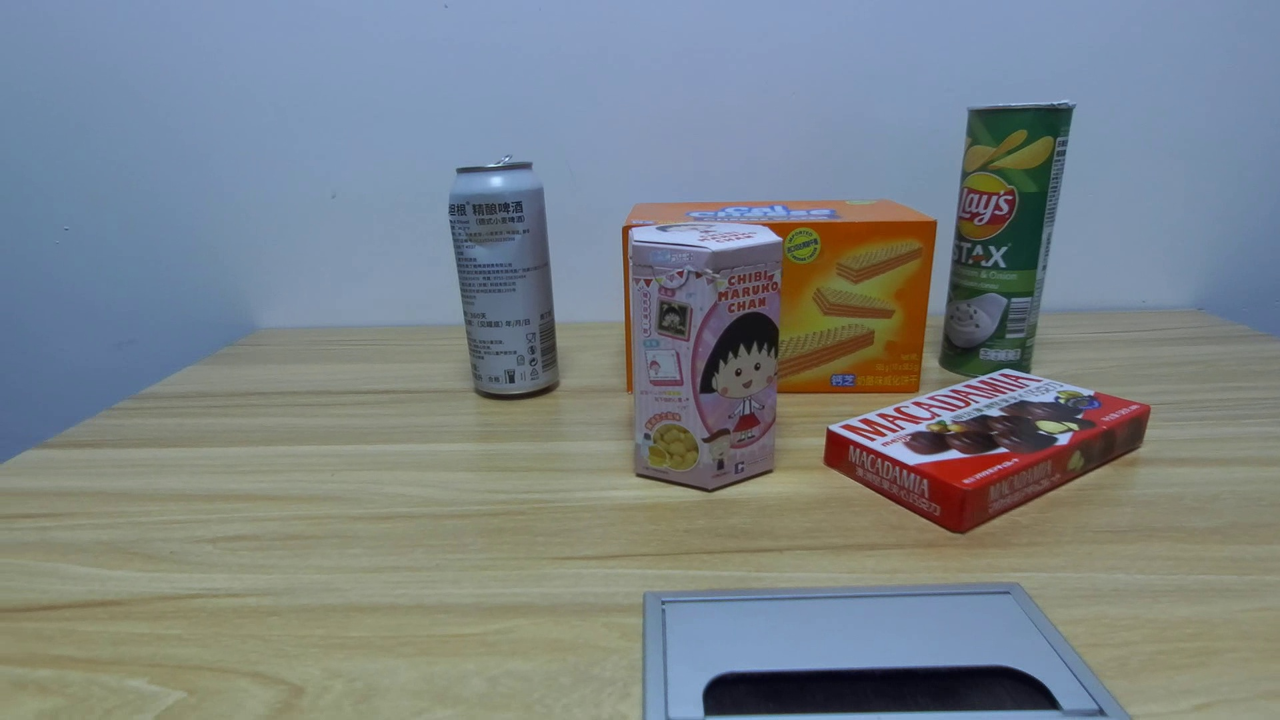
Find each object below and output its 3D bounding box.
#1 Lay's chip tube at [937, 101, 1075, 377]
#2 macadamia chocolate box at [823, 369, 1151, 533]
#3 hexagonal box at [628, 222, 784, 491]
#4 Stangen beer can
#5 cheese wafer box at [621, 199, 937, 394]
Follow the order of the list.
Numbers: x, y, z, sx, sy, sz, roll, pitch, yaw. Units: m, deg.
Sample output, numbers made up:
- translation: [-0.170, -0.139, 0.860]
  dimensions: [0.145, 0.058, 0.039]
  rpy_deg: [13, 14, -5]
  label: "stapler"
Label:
- translation: [0.278, -0.090, 0.541]
  dimensions: [0.071, 0.202, 0.071]
  rpy_deg: [-1, 17, 1]
  label: "Lay's chip tube"
- translation: [0.206, 0.045, 0.418]
  dimensions: [0.178, 0.027, 0.095]
  rpy_deg: [-12, 21, -29]
  label: "macadamia chocolate box"
- translation: [0.036, -0.005, 0.401]
  dimensions: [0.091, 0.136, 0.083]
  rpy_deg: [-13, 21, -30]
  label: "hexagonal box"
- translation: [-0.101, -0.061, 0.528]
  dimensions: [0.070, 0.173, 0.069]
  rpy_deg: [-6, 16, -13]
  label: "Stangen beer can"
- translation: [0.102, -0.057, 0.571]
  dimensions: [0.222, 0.129, 0.148]
  rpy_deg: [0, 18, 3]
  label: "cheese wafer box"
